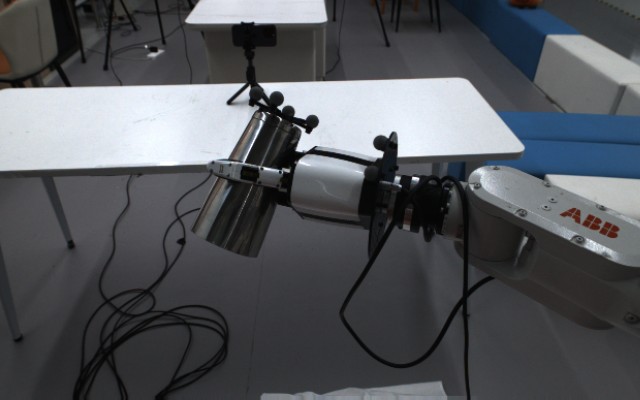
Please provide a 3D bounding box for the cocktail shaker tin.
[{"bbox_3d":[-0.086,-0.025,0.616,0.093,0.170,0.093,23,0,0],"label":"cocktail shaker tin"}]
